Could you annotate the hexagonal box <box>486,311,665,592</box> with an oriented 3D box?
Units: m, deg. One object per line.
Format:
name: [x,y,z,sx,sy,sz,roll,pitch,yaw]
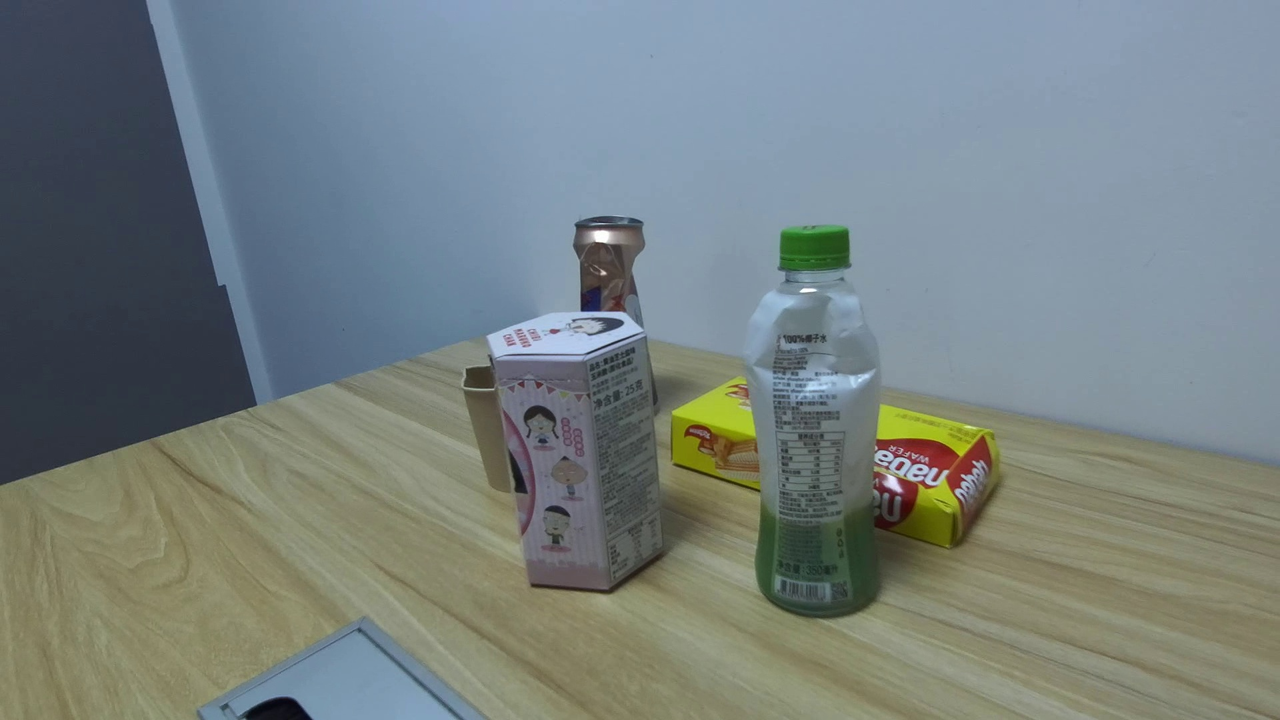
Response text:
hexagonal box: [-0.035,0.049,0.398,0.084,0.136,0.091,-9,20,-14]

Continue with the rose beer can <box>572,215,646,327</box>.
rose beer can: [-0.021,-0.030,0.582,0.065,0.167,0.076,2,8,13]

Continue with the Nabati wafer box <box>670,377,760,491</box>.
Nabati wafer box: [0.127,0.059,0.482,0.202,0.042,0.097,12,22,39]

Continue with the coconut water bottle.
coconut water bottle: [0.087,0.029,0.345,0.067,0.187,0.067,-4,18,2]
